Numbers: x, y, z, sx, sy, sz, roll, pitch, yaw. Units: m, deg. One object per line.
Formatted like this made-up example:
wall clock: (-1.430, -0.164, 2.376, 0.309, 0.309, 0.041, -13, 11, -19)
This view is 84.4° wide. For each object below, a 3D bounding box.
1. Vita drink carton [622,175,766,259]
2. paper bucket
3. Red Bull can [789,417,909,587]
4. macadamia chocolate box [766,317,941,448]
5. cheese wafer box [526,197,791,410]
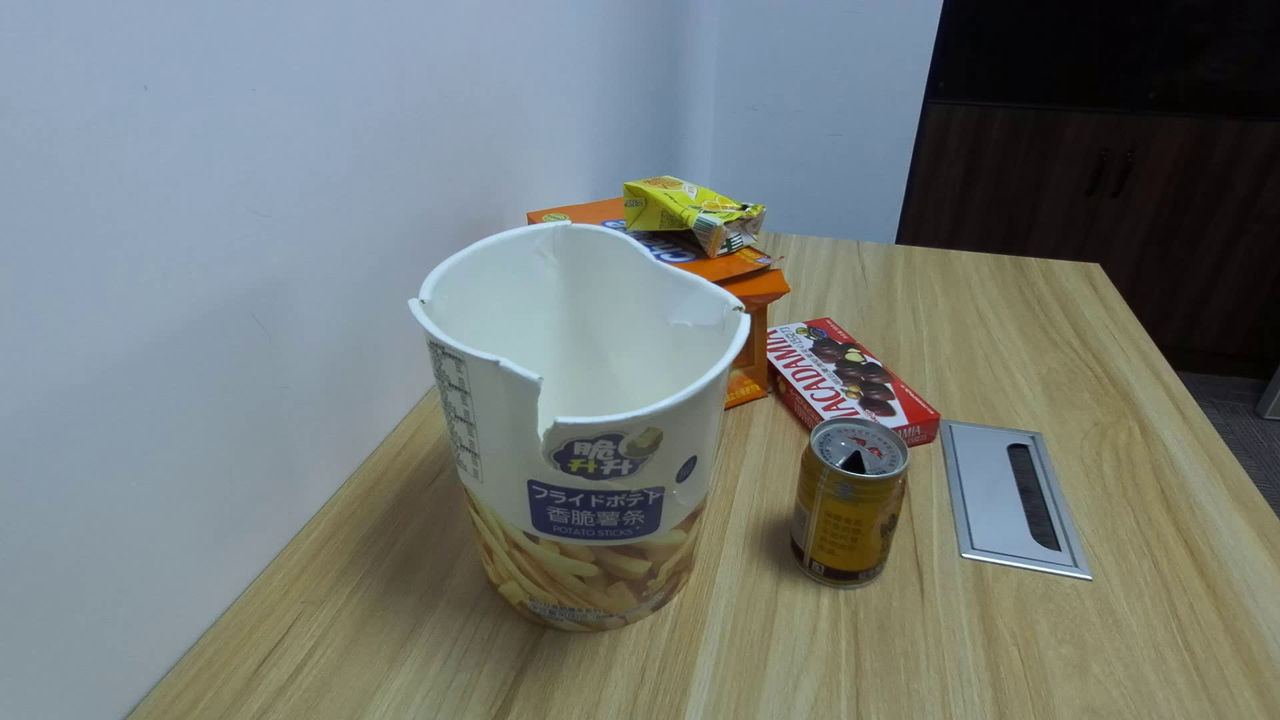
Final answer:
Vita drink carton: (0.045, -0.123, 0.607, 0.108, 0.042, 0.087, 26, 32, 30)
paper bucket: (-0.033, 0.043, 0.428, 0.146, 0.197, 0.201, -27, 42, -34)
Red Bull can: (0.133, 0.090, 0.454, 0.068, 0.093, 0.068, 0, 33, 0)
macadamia chocolate box: (0.172, 0.020, 0.632, 0.096, 0.027, 0.177, -11, 33, -14)
cheese wafer box: (0.007, -0.054, 0.650, 0.150, 0.137, 0.226, -16, 34, -28)
